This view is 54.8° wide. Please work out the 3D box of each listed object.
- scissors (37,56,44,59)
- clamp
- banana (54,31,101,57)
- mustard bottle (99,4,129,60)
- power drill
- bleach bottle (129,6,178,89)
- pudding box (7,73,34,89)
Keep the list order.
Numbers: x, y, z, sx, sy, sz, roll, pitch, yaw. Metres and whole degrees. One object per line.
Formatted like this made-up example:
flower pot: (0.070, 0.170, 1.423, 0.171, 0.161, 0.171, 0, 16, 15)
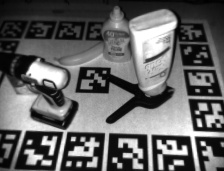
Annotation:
scissors: (-0.253, -0.072, 0.587, 0.201, 0.016, 0.088, 26, 65, 11)
clamp: (0.072, 0.002, 0.624, 0.203, 0.037, 0.164, -3, 59, -2)
banana: (-0.098, -0.141, 0.730, 0.198, 0.039, 0.073, -32, 45, -18)
mustard bottle: (0.006, -0.162, 0.663, 0.096, 0.192, 0.058, 14, 58, 10)
power drill: (-0.192, 0.000, 0.524, 0.183, 0.188, 0.057, 11, 51, 13)
bleach bottle: (0.103, -0.068, 0.543, 0.102, 0.253, 0.067, -18, 53, -1)
pudding box: (-0.242, -0.030, 0.636, 0.113, 0.090, 0.038, 5, 50, 5)
